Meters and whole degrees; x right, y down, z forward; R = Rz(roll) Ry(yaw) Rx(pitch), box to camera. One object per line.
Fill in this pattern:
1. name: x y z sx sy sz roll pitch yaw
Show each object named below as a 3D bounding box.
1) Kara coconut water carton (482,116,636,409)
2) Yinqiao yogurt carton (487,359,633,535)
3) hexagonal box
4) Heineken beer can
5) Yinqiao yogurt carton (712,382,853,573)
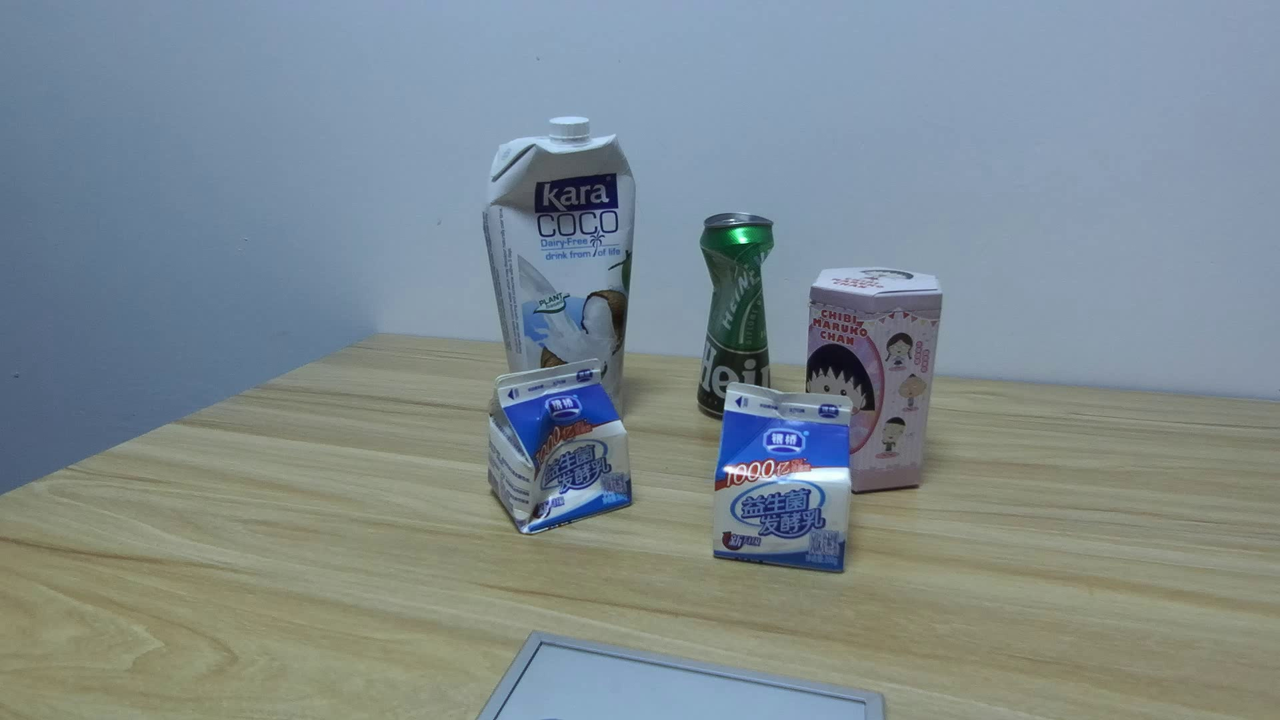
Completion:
1. Kara coconut water carton: -0.059 -0.063 0.550 0.115 0.238 0.069 -11 22 -29
2. Yinqiao yogurt carton: -0.054 0.047 0.446 0.078 0.094 0.070 -12 25 -28
3. hexagonal box: 0.155 0.012 0.479 0.084 0.136 0.091 -15 23 -39
4. Heineken beer can: 0.080 -0.034 0.581 0.066 0.164 0.078 8 21 29
5. Yinqiao yogurt carton: 0.083 0.058 0.404 0.075 0.092 0.074 5 20 12
